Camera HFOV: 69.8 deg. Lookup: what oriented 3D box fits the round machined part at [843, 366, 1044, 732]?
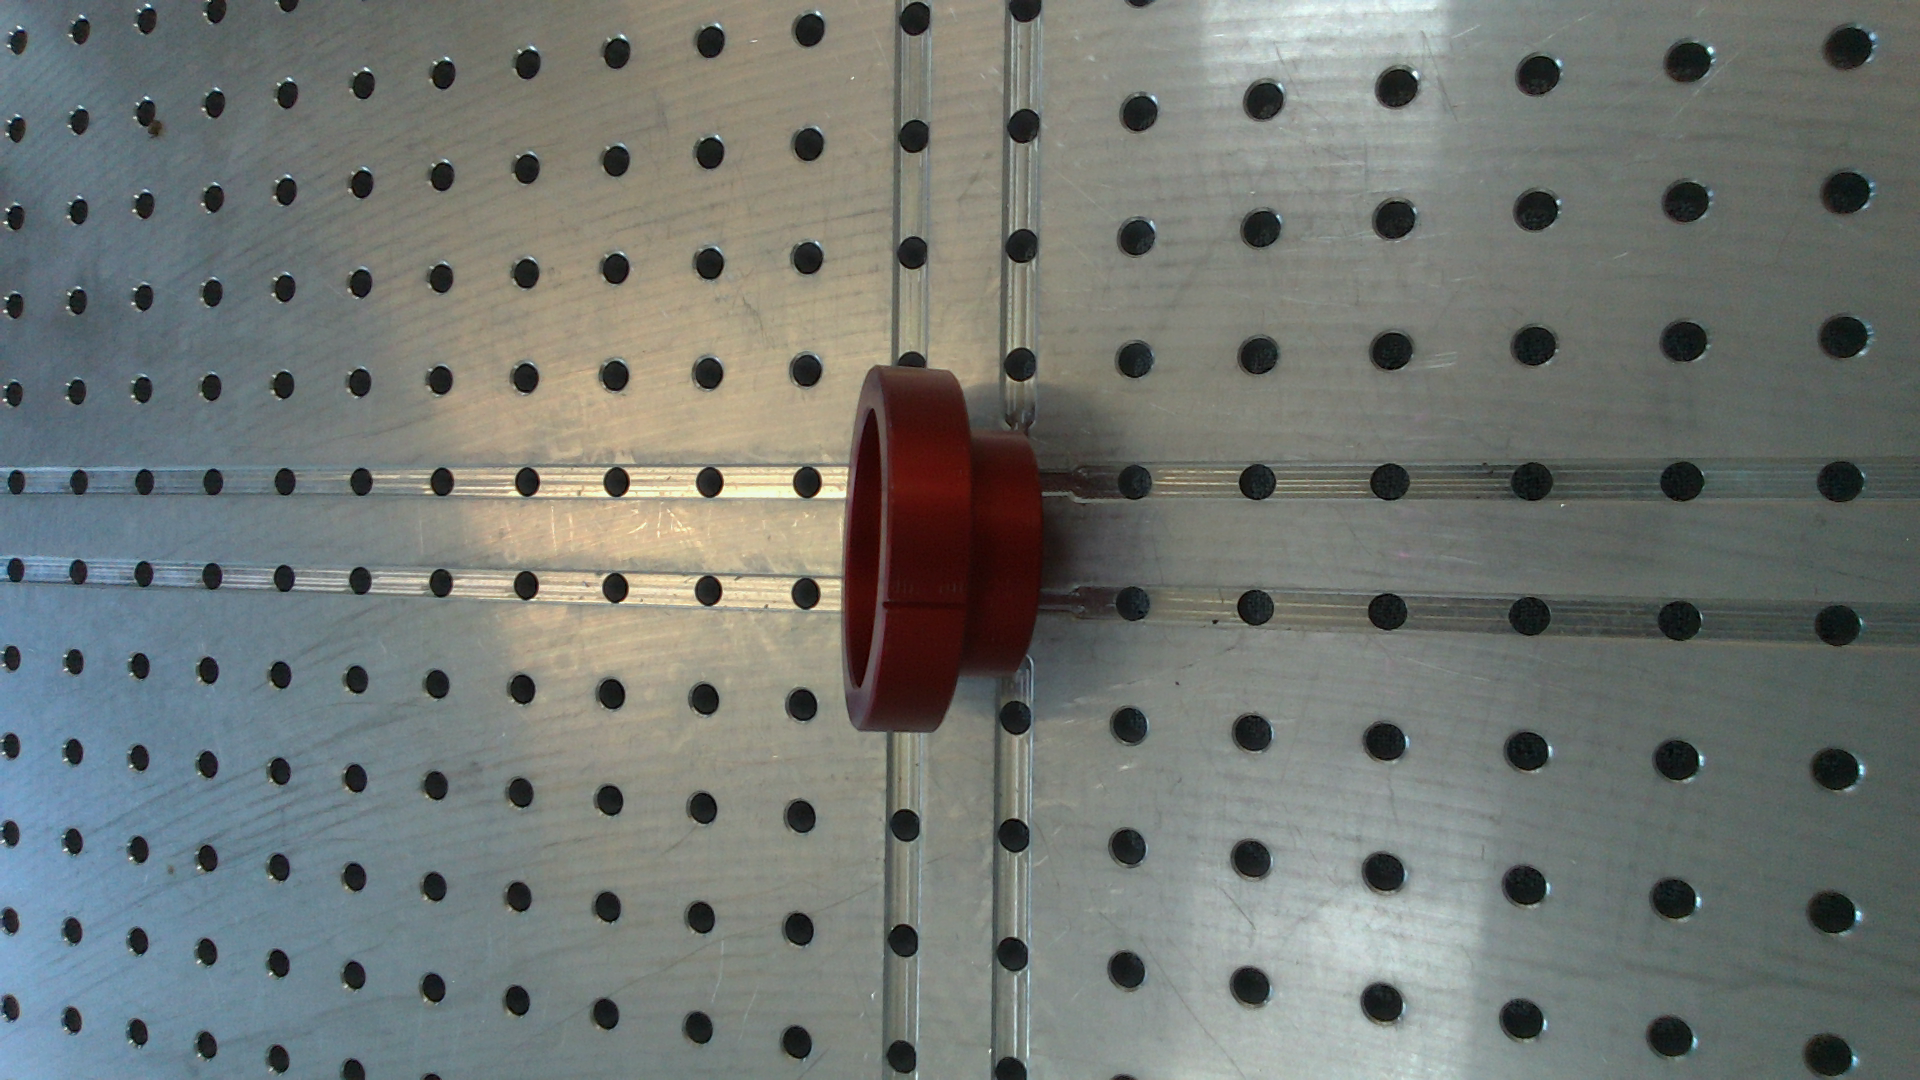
[{"bbox_3d":[-0.006,0.003,0.372,0.042,0.098,0.098,3,91,-11],"label":"round machined part"}]
